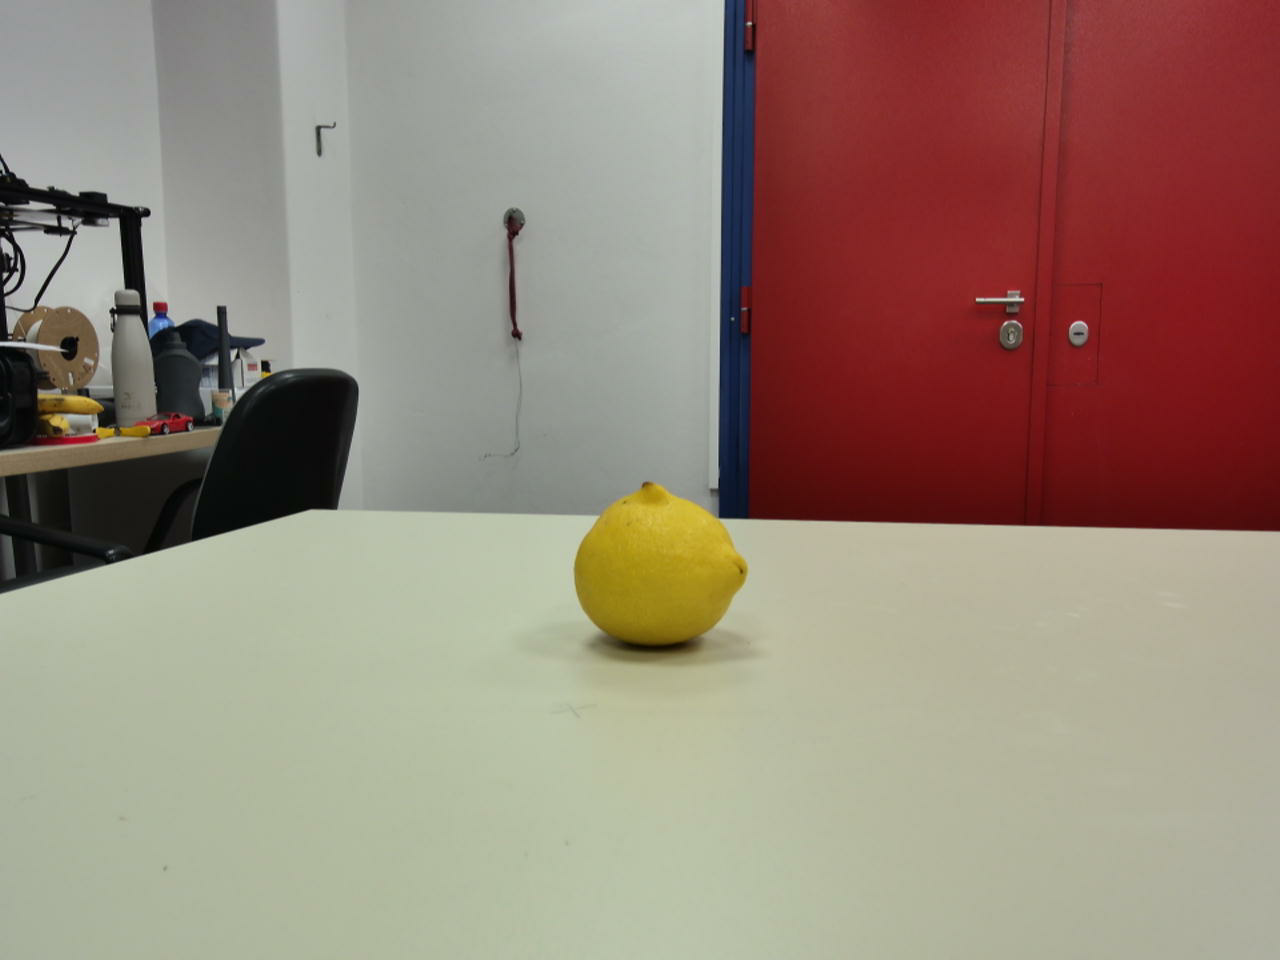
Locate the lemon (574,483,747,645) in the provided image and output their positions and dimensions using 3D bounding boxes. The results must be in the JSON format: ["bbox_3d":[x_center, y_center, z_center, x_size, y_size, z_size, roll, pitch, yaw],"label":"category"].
[{"bbox_3d":[0.007,0.037,0.443,0.070,0.071,0.071,-2,4,-22],"label":"lemon"}]
